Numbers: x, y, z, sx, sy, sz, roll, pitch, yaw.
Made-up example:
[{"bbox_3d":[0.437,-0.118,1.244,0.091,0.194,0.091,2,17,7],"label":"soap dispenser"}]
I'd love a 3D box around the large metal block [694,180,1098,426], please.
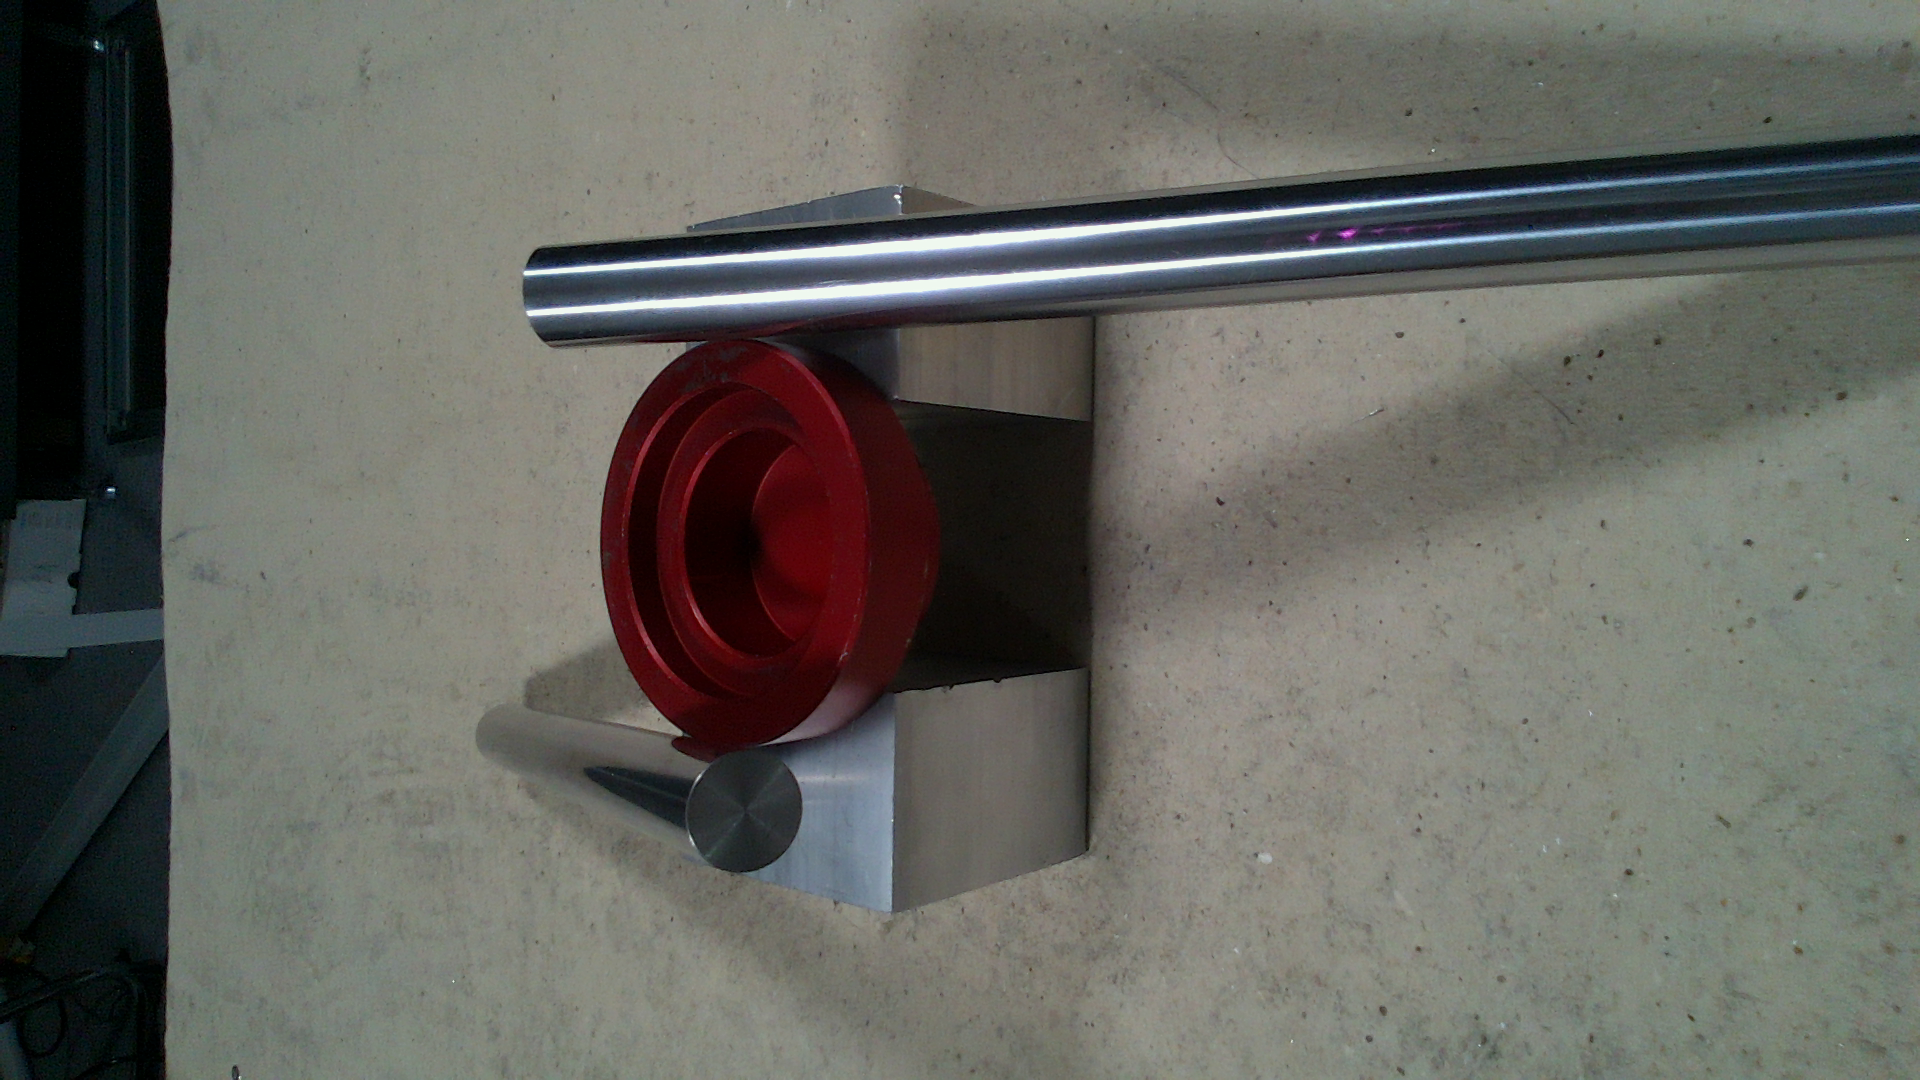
[{"bbox_3d":[-0.018,-0.059,0.374,0.080,0.080,0.050,1,91,40],"label":"large metal block"}]

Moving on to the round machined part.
[{"bbox_3d":[-0.044,0.001,0.343,0.098,0.042,0.098,0,90,40],"label":"round machined part"}]

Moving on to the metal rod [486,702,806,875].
[{"bbox_3d":[-0.111,0.066,0.416,0.299,0.025,0.025,-8,84,63],"label":"metal rod"}]

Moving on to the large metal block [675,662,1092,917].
[{"bbox_3d":[-0.020,0.062,0.376,0.080,0.080,0.050,1,91,40],"label":"large metal block"}]

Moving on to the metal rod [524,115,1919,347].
[{"bbox_3d":[0.044,-0.061,0.287,0.299,0.025,0.025,-1,90,18],"label":"metal rod"}]
